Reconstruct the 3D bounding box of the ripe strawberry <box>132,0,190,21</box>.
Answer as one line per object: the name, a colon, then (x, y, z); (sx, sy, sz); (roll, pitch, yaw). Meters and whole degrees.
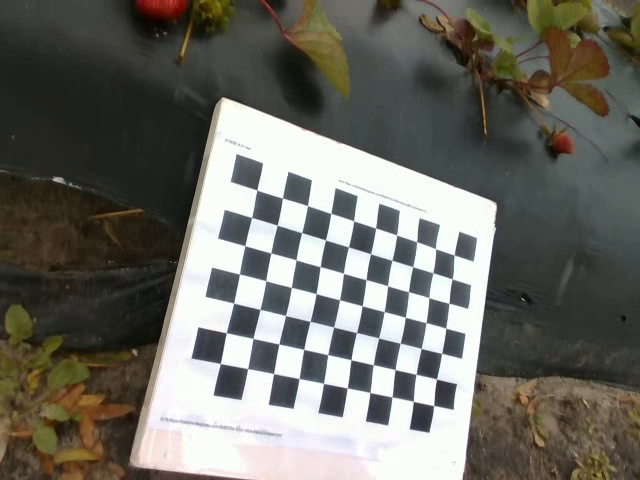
ripe strawberry: (-0.033, -0.054, 0.191); (0.018, 0.014, 0.017); (31, 23, -37)
